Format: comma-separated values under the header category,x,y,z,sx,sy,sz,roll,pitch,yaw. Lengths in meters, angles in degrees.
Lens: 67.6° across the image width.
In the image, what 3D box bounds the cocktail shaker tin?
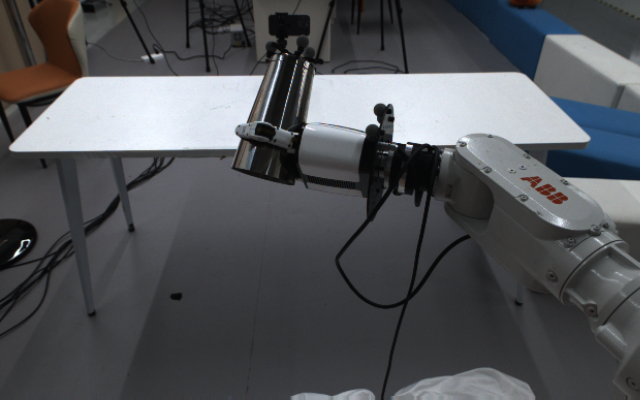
category,x,y,z,sx,sy,sz,roll,pitch,yaw
cocktail shaker tin,-0.060,-0.115,0.688,0.093,0.170,0.093,15,-4,1
